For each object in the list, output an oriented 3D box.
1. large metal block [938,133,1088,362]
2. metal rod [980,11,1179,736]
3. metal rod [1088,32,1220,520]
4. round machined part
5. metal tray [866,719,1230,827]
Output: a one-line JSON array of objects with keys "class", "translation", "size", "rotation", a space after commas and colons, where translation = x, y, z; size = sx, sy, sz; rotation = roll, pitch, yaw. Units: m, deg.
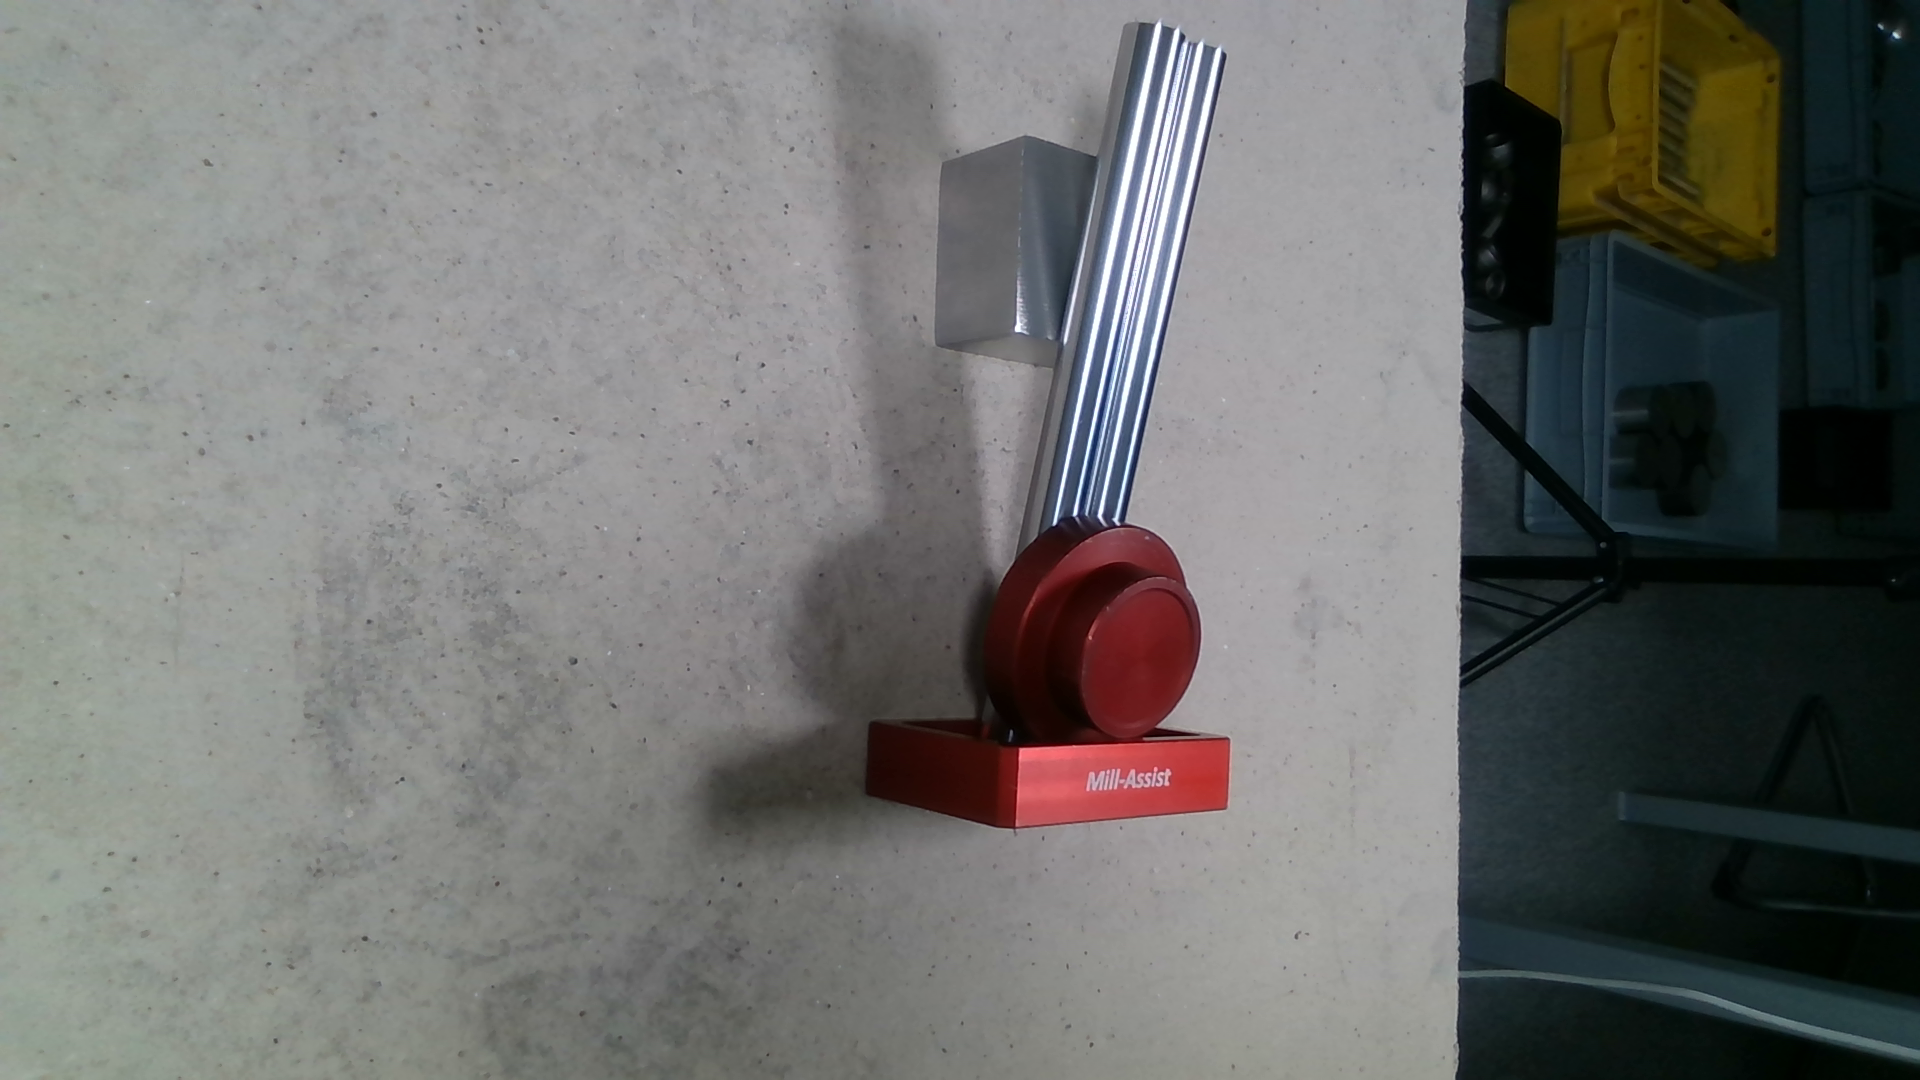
[{"class": "large metal block", "translation": [0.039, -0.121, 0.595], "size": [0.080, 0.050, 0.080], "rotation": [4, 87, -40]}, {"class": "metal rod", "translation": [0.047, -0.059, 0.564], "size": [0.025, 0.025, 0.300], "rotation": [4, 100, -40]}, {"class": "metal rod", "translation": [0.068, -0.057, 0.582], "size": [0.025, 0.025, 0.300], "rotation": [3, 101, -40]}, {"class": "round machined part", "translation": [0.060, 0.041, 0.559], "size": [0.098, 0.042, 0.098], "rotation": [-10, 107, -36]}, {"class": "metal tray", "translation": [0.038, 0.093, 0.572], "size": [0.130, 0.090, 0.030], "rotation": [5, 87, -40]}]
